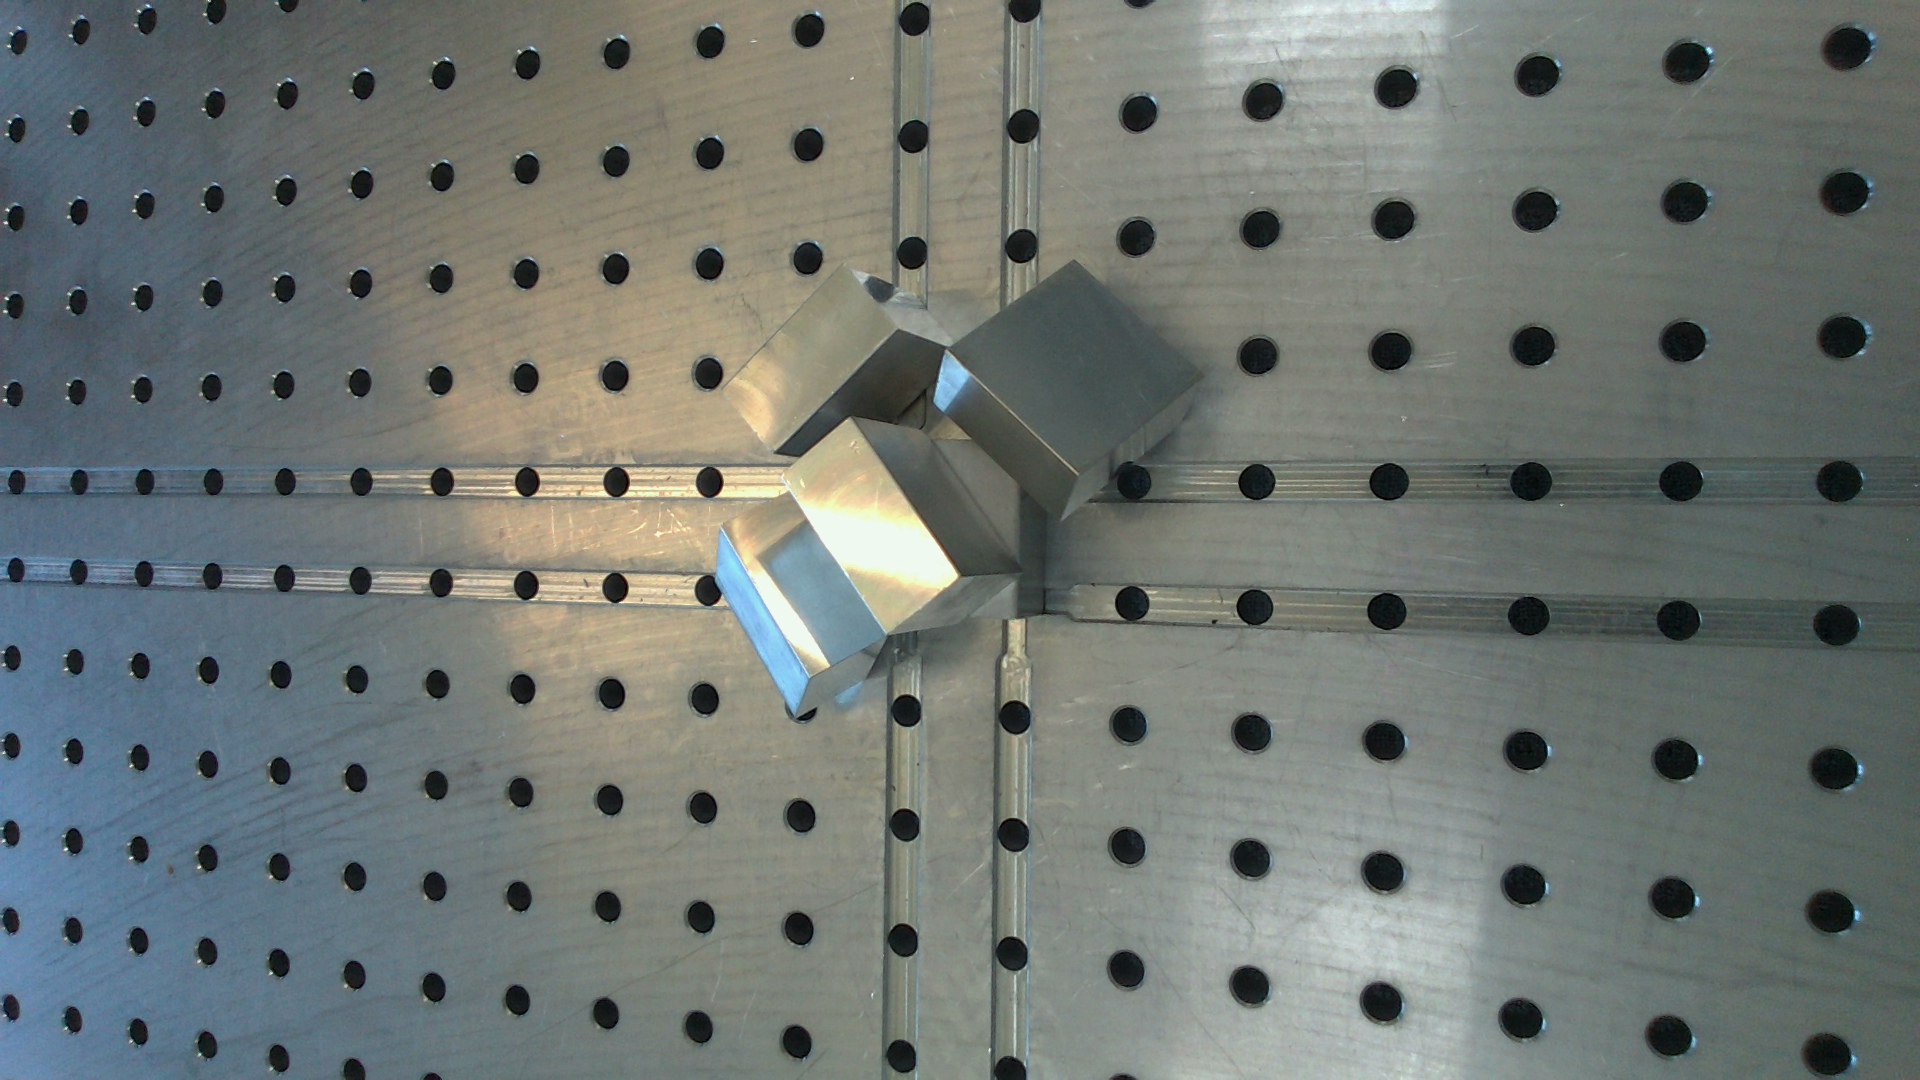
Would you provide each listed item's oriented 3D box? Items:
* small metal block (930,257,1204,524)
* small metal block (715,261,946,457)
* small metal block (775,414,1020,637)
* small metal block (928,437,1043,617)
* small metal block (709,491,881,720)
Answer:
[{"bbox_3d":[0.028,-0.041,0.374,0.050,0.025,0.050,-38,74,-25],"label":"small metal block"},{"bbox_3d":[-0.034,-0.049,0.397,0.050,0.050,0.025,-43,77,15],"label":"small metal block"},{"bbox_3d":[-0.015,-0.004,0.364,0.025,0.050,0.050,-38,78,15],"label":"small metal block"},{"bbox_3d":[-0.003,-0.004,0.399,0.050,0.025,0.050,0,90,19],"label":"small metal block"},{"bbox_3d":[-0.049,0.020,0.400,0.025,0.050,0.050,-28,78,-20],"label":"small metal block"}]
